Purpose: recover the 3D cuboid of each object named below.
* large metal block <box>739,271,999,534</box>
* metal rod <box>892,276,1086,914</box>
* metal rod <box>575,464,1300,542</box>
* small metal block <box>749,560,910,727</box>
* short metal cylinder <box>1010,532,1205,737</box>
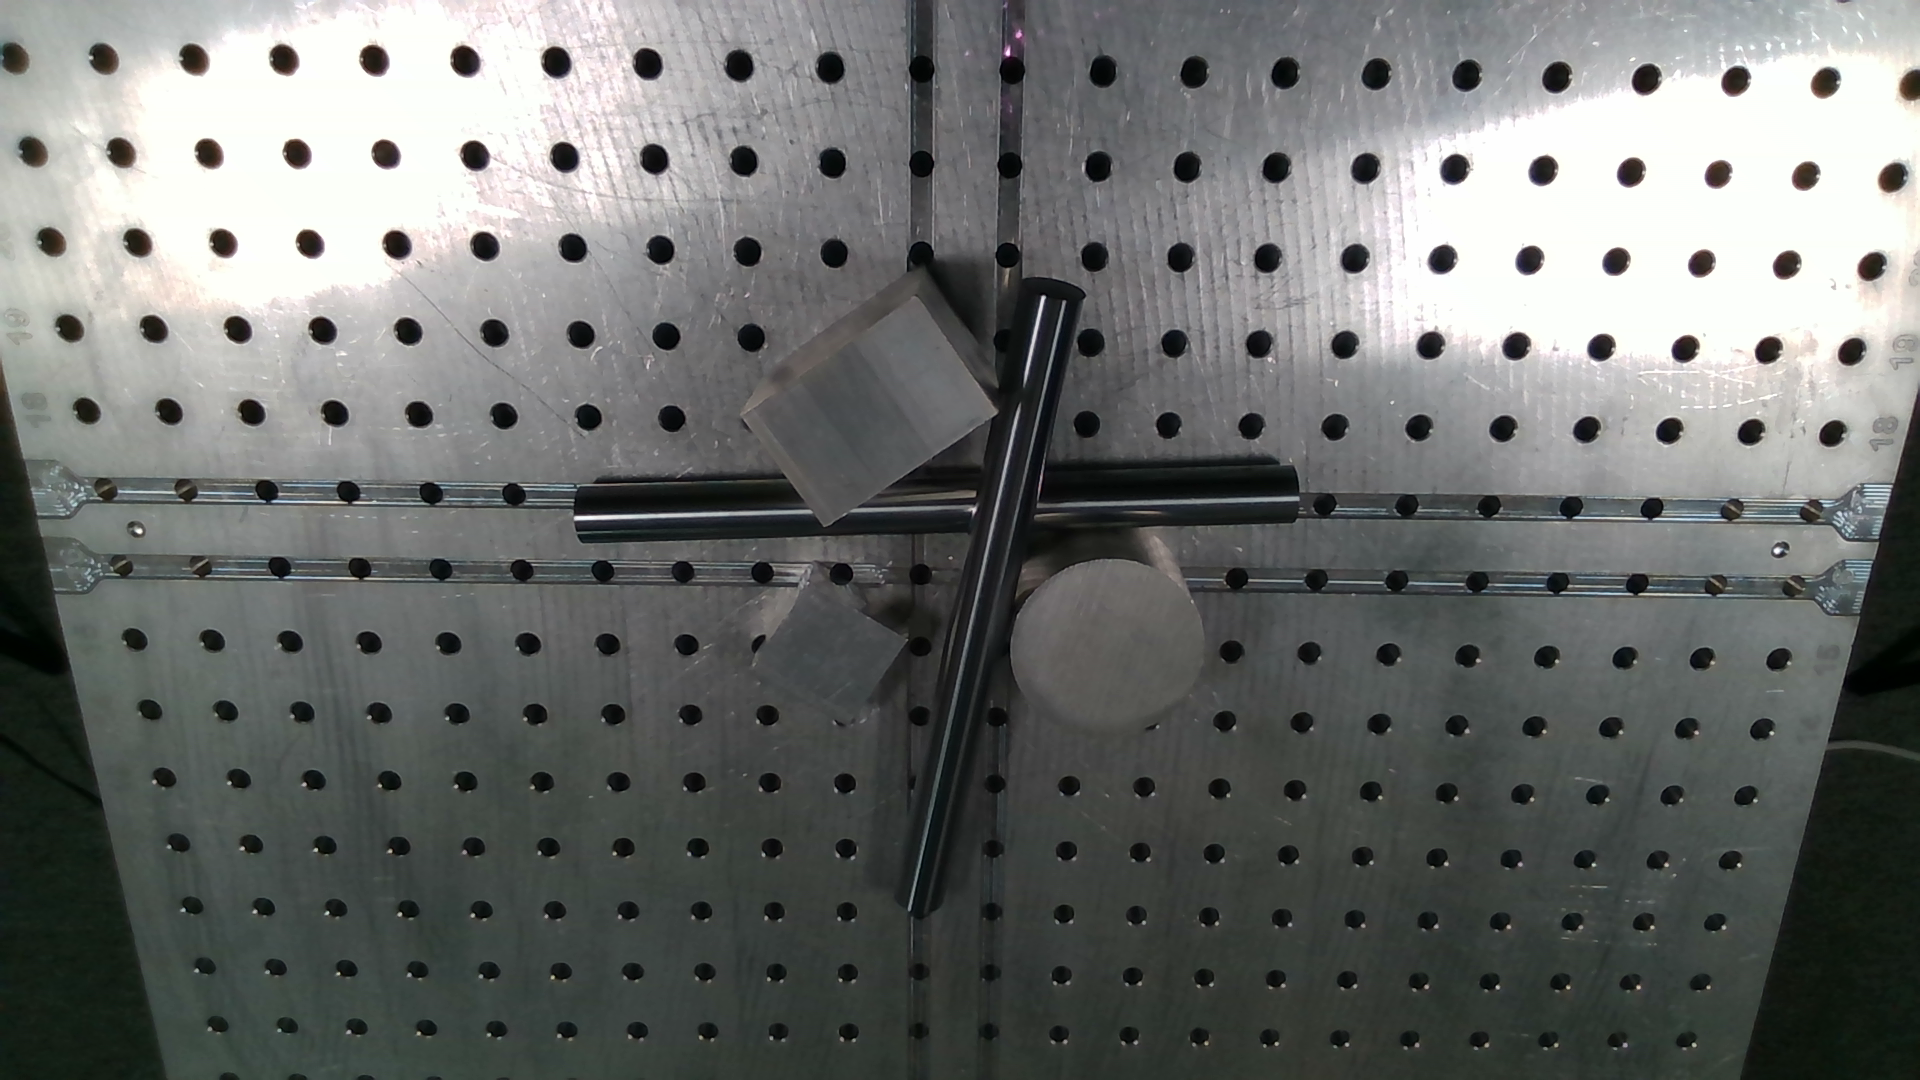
[{"bbox_3d":[-0.033,-0.057,0.536,0.080,0.080,0.050,-33,107,11],"label":"large metal block"},{"bbox_3d":[0.007,0.037,0.581,0.025,0.025,0.301,10,117,-4],"label":"metal rod"},{"bbox_3d":[-0.010,-0.015,0.582,0.300,0.025,0.025,-2,110,1],"label":"metal rod"},{"bbox_3d":[-0.057,0.045,0.605,0.050,0.025,0.050,31,107,-11],"label":"small metal block"},{"bbox_3d":[0.060,0.037,0.587,0.080,0.050,0.080,0,110,0],"label":"short metal cylinder"}]
